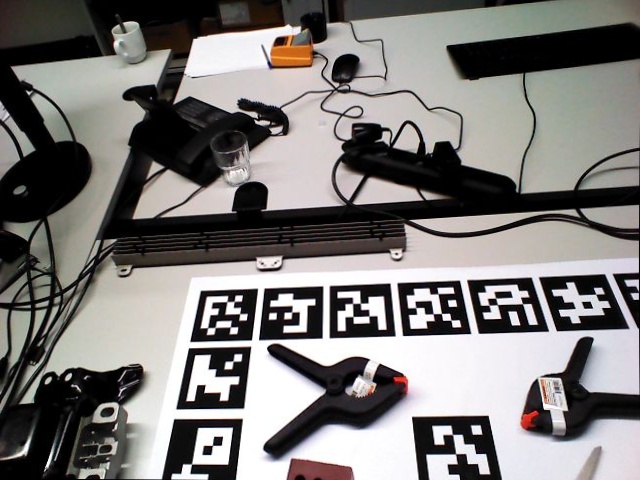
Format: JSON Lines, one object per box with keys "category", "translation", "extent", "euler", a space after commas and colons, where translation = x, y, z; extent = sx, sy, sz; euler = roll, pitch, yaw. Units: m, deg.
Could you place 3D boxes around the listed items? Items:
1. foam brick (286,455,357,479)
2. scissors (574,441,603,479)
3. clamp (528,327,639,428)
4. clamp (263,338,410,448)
{"category": "foam brick", "translation": [0.002, 0.301, 0.632], "extent": [0.078, 0.051, 0.052], "euler": [1, 50, 14]}
{"category": "scissors", "translation": [0.282, 0.310, 0.601], "extent": [0.088, 0.016, 0.201], "euler": [35, 60, 23]}
{"category": "clamp", "translation": [0.348, 0.197, 0.687], "extent": [0.165, 0.037, 0.121], "euler": [-24, 57, -12]}
{"category": "clamp", "translation": [0.023, 0.202, 0.723], "extent": [0.203, 0.037, 0.164], "euler": [-5, 46, 2]}
